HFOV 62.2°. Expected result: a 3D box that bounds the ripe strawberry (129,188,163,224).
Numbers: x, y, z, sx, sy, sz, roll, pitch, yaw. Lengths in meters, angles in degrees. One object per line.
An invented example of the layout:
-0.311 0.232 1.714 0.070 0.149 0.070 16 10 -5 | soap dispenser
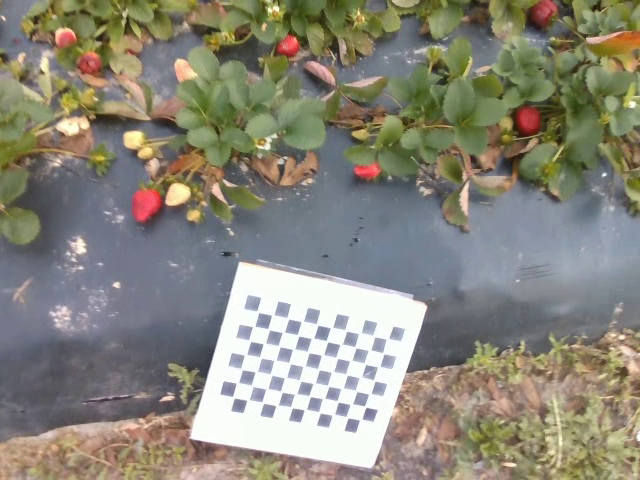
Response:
-0.250 -0.049 0.749 0.050 0.059 0.034 2 -36 -6 | ripe strawberry
